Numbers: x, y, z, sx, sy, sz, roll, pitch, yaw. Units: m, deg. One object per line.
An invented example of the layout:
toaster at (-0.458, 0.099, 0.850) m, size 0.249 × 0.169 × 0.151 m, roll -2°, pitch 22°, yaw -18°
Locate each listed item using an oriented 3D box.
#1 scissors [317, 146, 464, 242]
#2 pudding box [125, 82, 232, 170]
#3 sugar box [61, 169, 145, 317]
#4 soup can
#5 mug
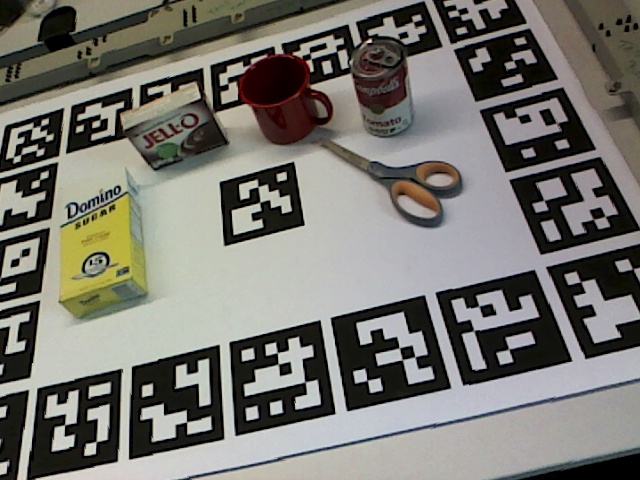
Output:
scissors at (0.076, -0.074, 0.743) m, size 0.204 × 0.016 × 0.087 m, roll 32°, pitch 82°, yaw 28°
pudding box at (-0.185, -0.149, 0.815) m, size 0.114 × 0.089 × 0.039 m, roll -22°, pitch 63°, yaw 2°
sugar box at (-0.277, 0.000, 0.788) m, size 0.093 × 0.045 × 0.177 m, roll -17°, pitch 59°, yaw 7°
soup can at (0.077, -0.177, 0.763) m, size 0.068 × 0.101 × 0.068 m, roll -8°, pitch 57°, yaw 12°
mug at (-0.040, -0.181, 0.802) m, size 0.093 × 0.081 × 0.118 m, roll -46°, pitch 58°, yaw -10°
